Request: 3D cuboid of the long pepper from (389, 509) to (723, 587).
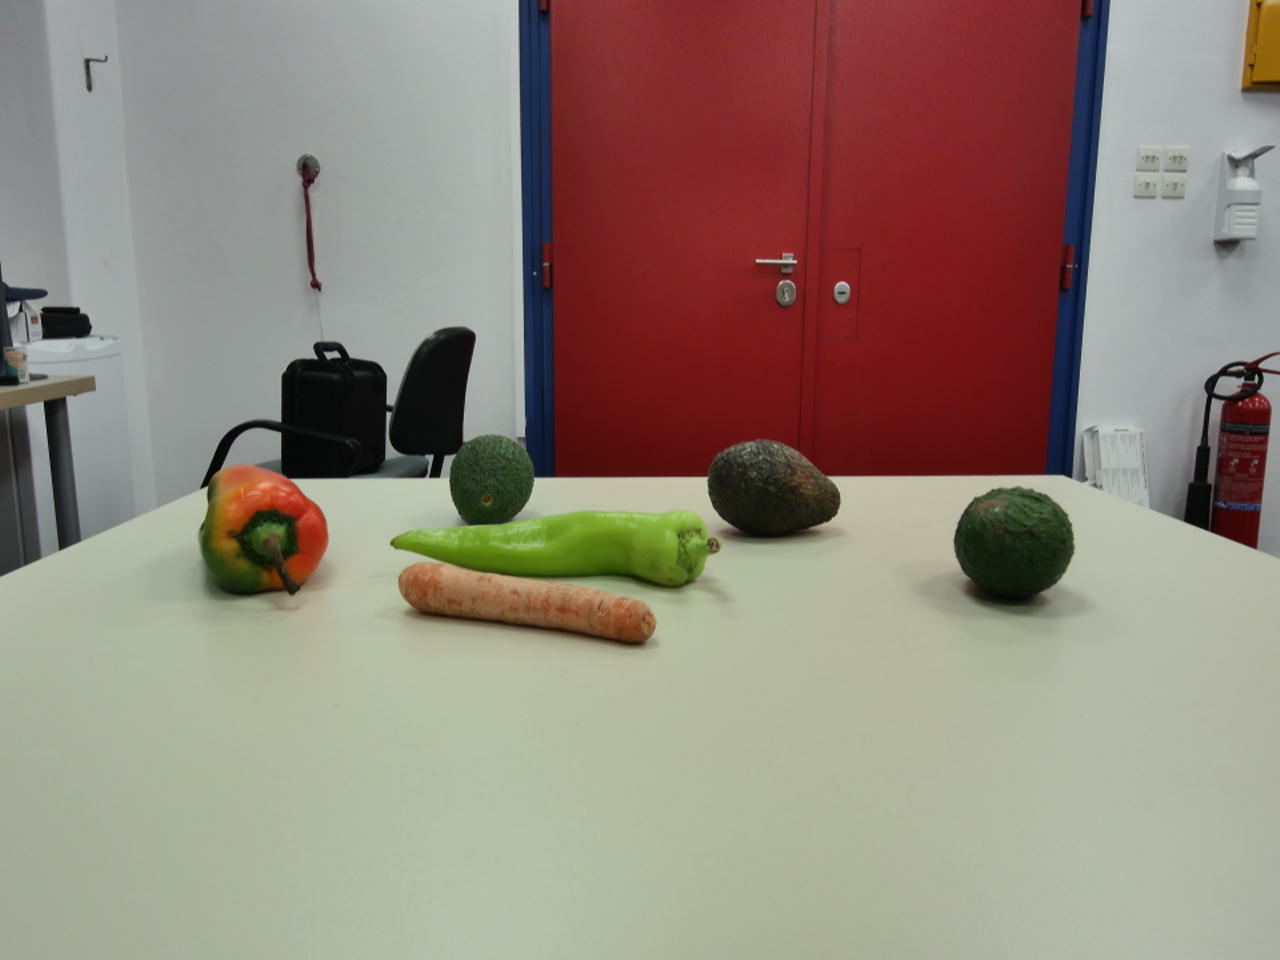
[{"bbox_3d":[-0.044,0.038,0.612,0.205,0.045,0.065,2,8,15],"label":"long pepper"}]
